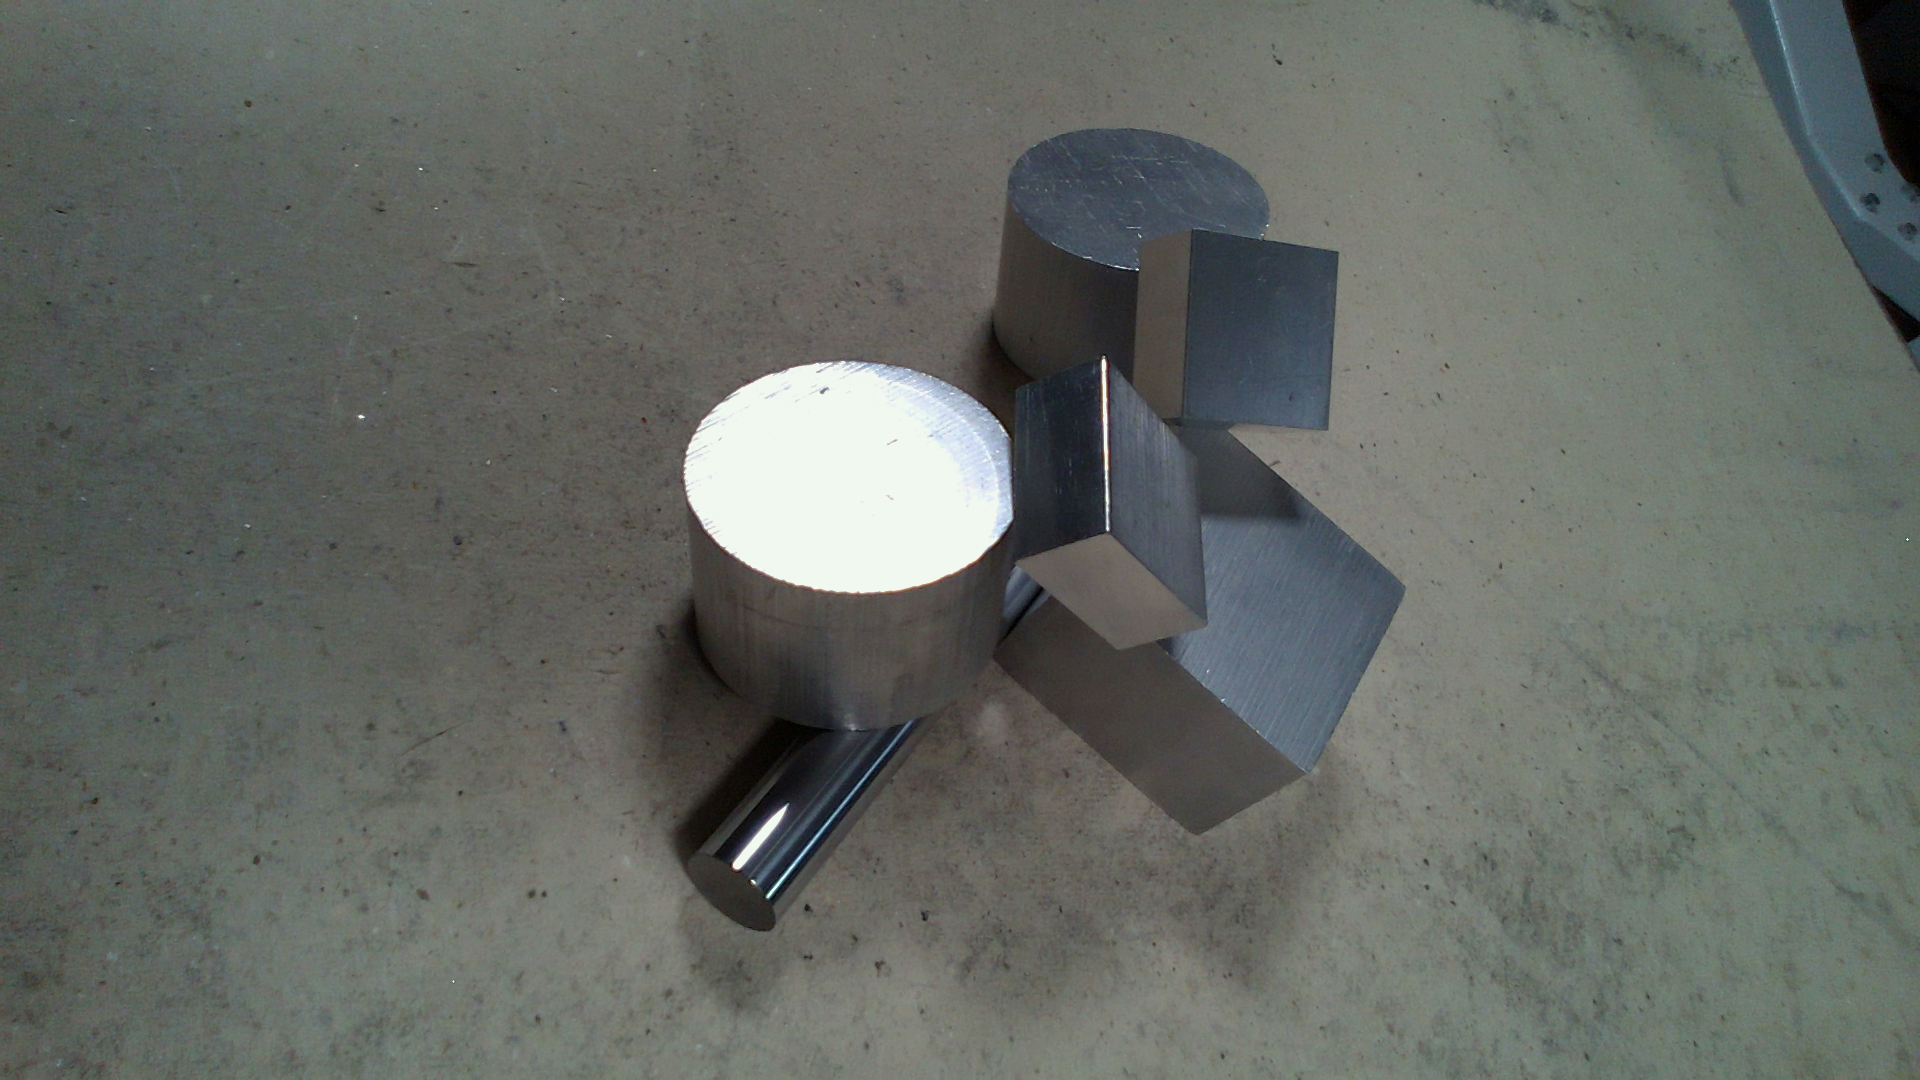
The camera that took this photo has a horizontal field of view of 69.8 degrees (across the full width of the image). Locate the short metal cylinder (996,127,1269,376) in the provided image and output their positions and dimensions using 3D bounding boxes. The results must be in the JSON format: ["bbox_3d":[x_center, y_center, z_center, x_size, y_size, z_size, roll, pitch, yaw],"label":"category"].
[{"bbox_3d":[0.053,-0.088,0.437,0.080,0.050,0.080,3,45,-3],"label":"short metal cylinder"}]

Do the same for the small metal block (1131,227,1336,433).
[{"bbox_3d":[0.076,-0.057,0.385,0.050,0.025,0.050,2,91,-27],"label":"small metal block"}]

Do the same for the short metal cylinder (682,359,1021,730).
[{"bbox_3d":[-0.027,0.000,0.342,0.080,0.050,0.080,3,45,-3],"label":"short metal cylinder"}]

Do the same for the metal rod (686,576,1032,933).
[{"bbox_3d":[0.025,-0.007,0.407,0.025,0.025,0.301,41,51,0],"label":"metal rod"}]

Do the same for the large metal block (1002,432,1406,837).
[{"bbox_3d":[0.069,0.022,0.395,0.080,0.050,0.080,41,51,0],"label":"large metal block"}]

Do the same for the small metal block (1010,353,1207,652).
[{"bbox_3d":[0.036,-0.008,0.335,0.050,0.025,0.050,40,42,-44],"label":"small metal block"}]
